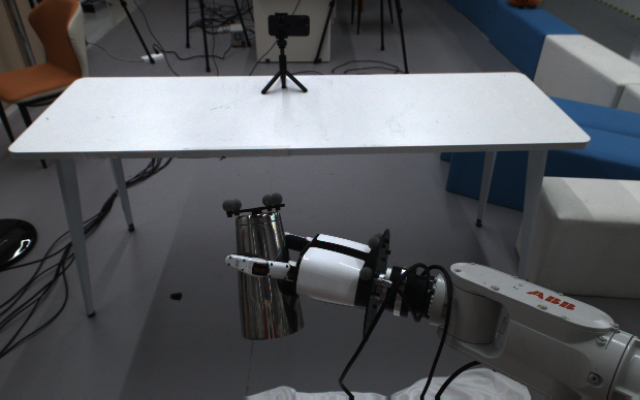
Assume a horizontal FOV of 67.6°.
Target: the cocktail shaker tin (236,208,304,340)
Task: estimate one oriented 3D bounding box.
[{"bbox_3d":[-0.080,0.106,0.704,0.093,0.170,0.093,-8,1,0],"label":"cocktail shaker tin"}]
